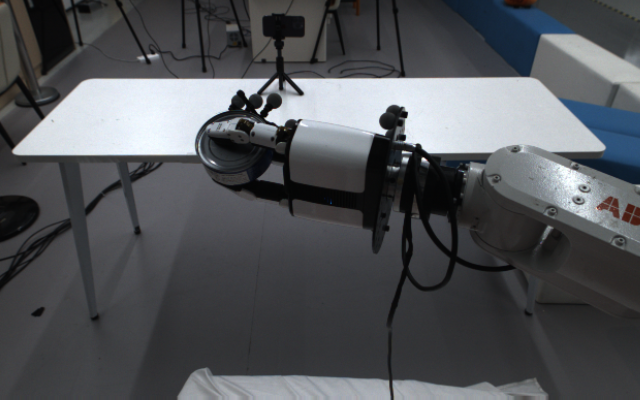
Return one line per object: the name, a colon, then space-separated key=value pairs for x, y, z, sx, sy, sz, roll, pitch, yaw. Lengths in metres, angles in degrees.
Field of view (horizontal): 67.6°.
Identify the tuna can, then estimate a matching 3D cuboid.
tuna can: x=-0.098 y=-0.061 z=0.563 sx=0.085 sy=0.034 sz=0.085 roll=-2 pitch=60 yaw=3
